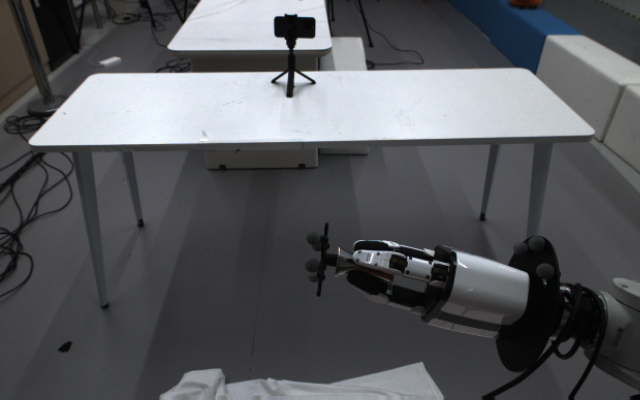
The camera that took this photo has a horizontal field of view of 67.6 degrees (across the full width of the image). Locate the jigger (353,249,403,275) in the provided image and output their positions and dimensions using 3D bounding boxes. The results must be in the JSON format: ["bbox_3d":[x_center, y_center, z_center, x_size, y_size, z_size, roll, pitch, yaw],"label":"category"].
[{"bbox_3d":[0.062,0.072,0.585,0.071,0.043,0.043,5,35,3],"label":"jigger"}]
